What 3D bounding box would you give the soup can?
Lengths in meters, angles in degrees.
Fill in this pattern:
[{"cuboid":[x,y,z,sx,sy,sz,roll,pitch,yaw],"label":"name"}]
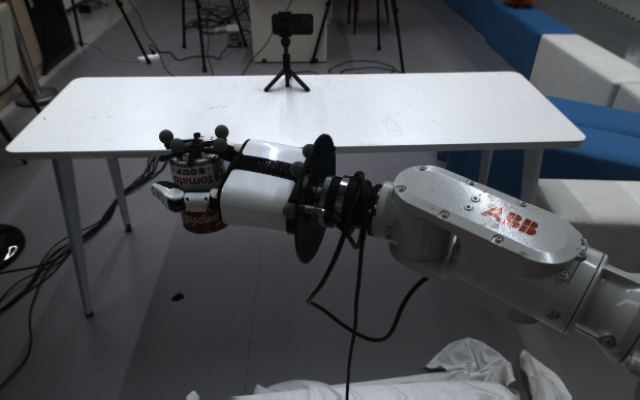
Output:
[{"cuboid":[-0.151,-0.016,0.624,0.067,0.101,0.067,-2,32,1],"label":"soup can"}]
